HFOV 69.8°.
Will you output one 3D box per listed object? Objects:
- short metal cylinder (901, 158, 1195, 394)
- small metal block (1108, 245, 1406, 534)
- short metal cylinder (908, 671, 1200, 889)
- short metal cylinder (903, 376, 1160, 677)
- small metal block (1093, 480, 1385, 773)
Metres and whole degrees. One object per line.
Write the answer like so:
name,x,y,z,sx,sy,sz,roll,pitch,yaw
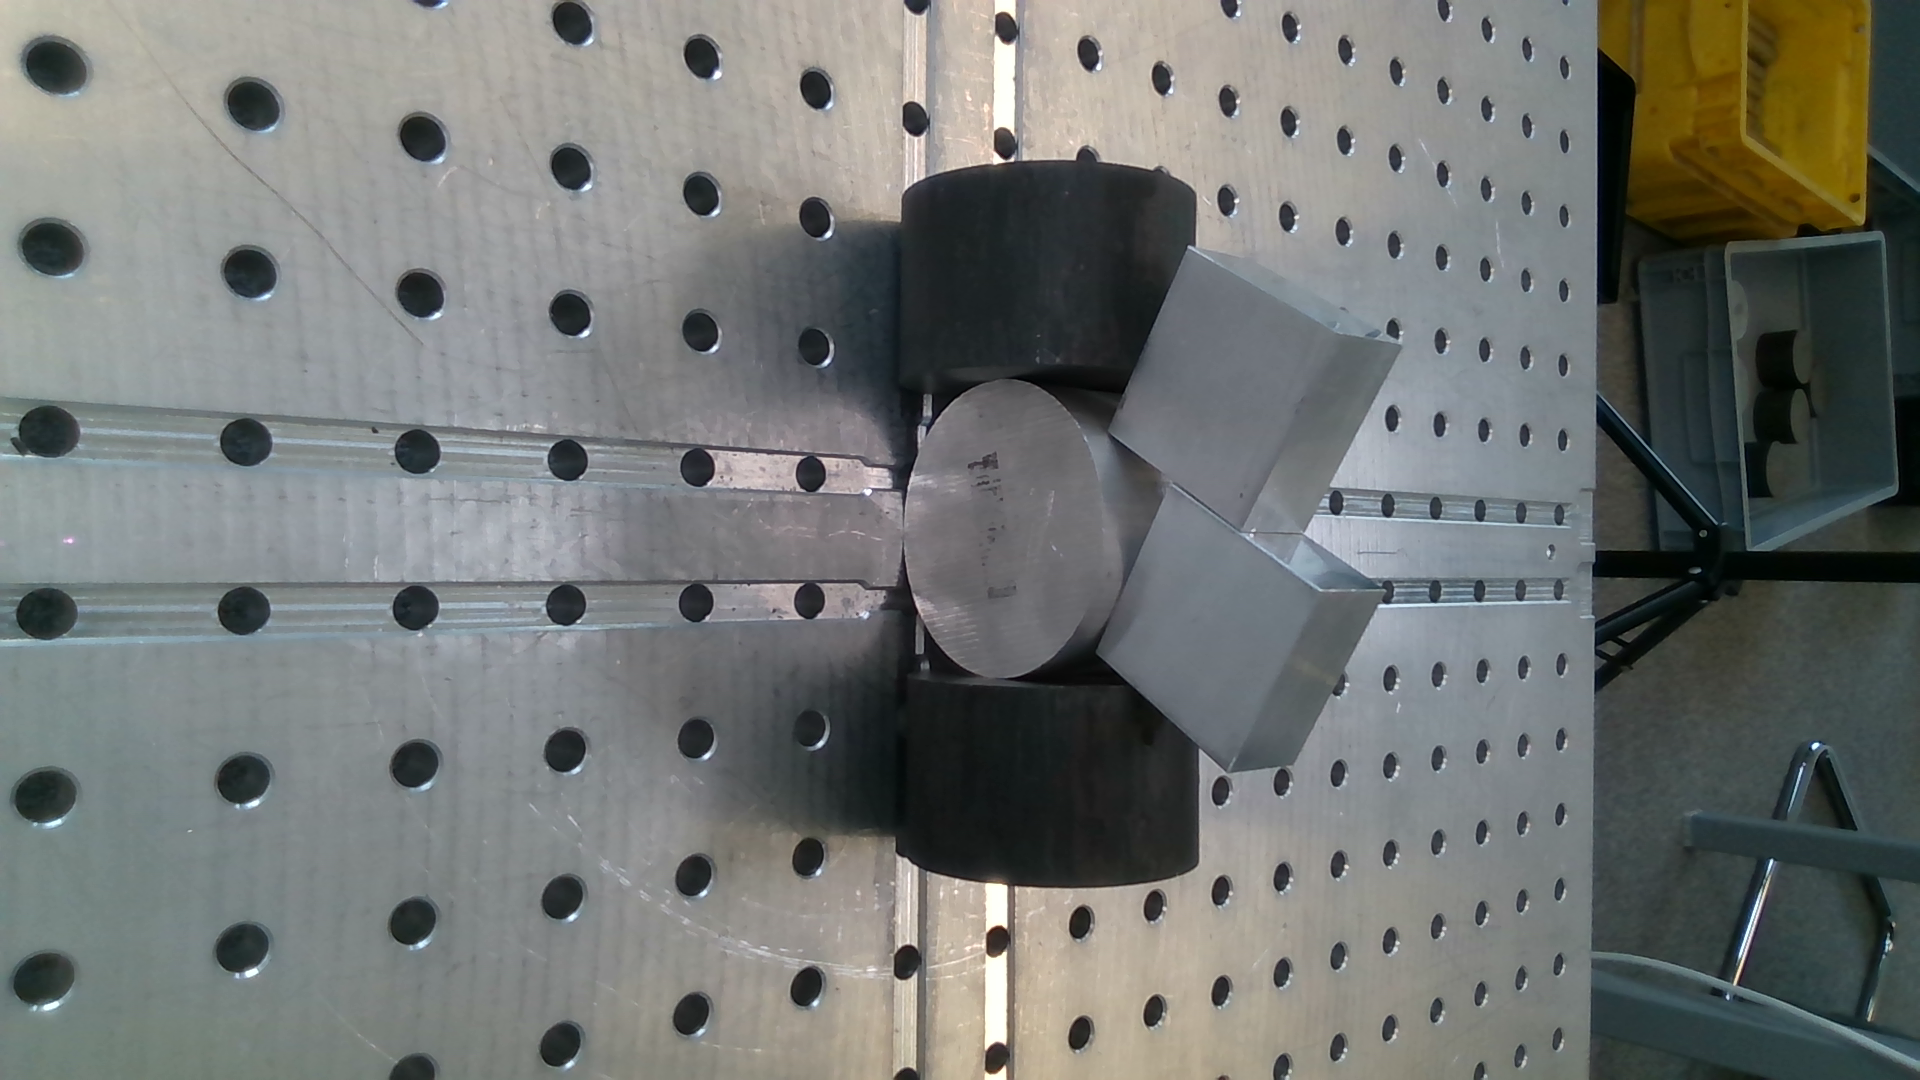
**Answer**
short metal cylinder,0.024,-0.068,0.378,0.080,0.080,0.050,1,89,-40
small metal block,0.069,-0.036,0.330,0.025,0.050,0.050,1,121,-40
short metal cylinder,0.025,0.062,0.379,0.080,0.080,0.050,1,88,-40
short metal cylinder,0.028,-0.003,0.382,0.050,0.080,0.080,1,89,-40
small metal block,0.066,0.020,0.333,0.025,0.050,0.050,1,120,-40
